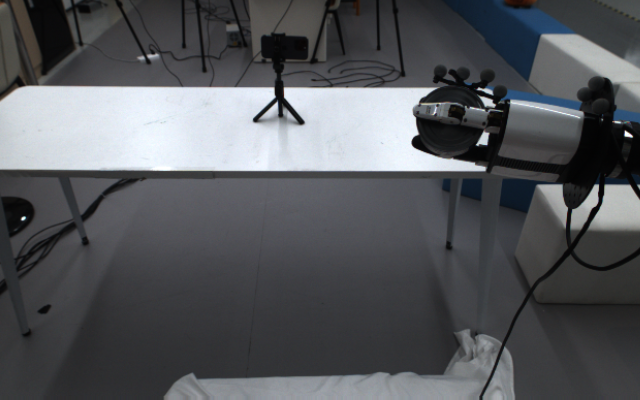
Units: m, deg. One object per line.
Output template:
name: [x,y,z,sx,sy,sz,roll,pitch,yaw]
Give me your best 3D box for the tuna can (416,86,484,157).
tuna can: [0.168,-0.102,0.622,0.085,0.085,0.034,13,-5,16]
